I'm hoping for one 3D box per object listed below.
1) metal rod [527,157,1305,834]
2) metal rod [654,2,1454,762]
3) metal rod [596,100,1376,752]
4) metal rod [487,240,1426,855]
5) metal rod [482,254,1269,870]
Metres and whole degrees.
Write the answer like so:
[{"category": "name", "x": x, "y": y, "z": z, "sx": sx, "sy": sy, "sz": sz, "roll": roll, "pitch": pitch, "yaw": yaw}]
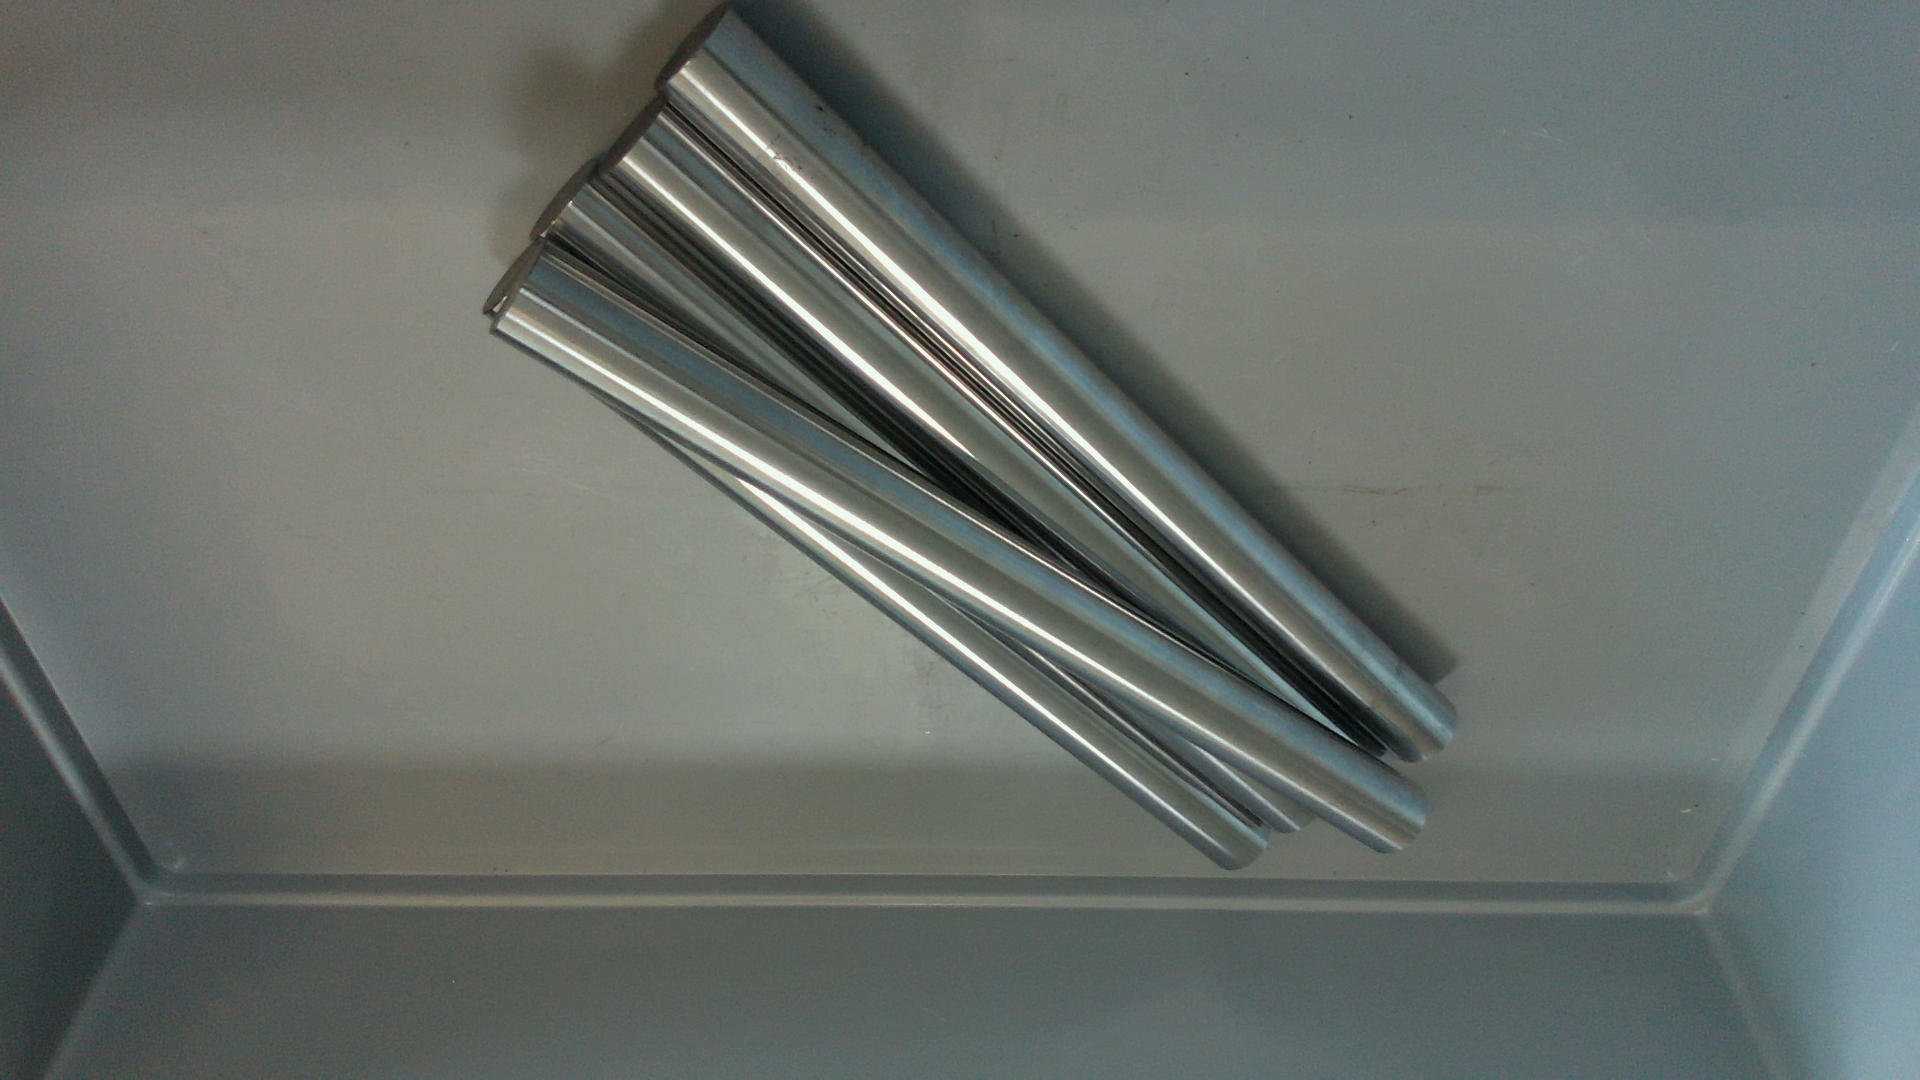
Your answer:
[{"category": "metal rod", "x": 0.009, "y": 0.004, "z": 0.393, "sx": 0.025, "sy": 0.025, "sz": 0.301, "roll": -35, "pitch": 122, "yaw": 26}, {"category": "metal rod", "x": 0.044, "y": -0.024, "z": 0.370, "sx": 0.025, "sy": 0.025, "sz": 0.301, "roll": -35, "pitch": 122, "yaw": 26}, {"category": "metal rod", "x": 0.028, "y": -0.008, "z": 0.382, "sx": 0.025, "sy": 0.025, "sz": 0.301, "roll": -35, "pitch": 122, "yaw": 26}, {"category": "metal rod", "x": 0.018, "y": 0.015, "z": 0.369, "sx": 0.301, "sy": 0.025, "sz": 0.025, "roll": 31, "pitch": 123, "yaw": -24}, {"category": "metal rod", "x": -0.006, "y": 0.019, "z": 0.406, "sx": 0.025, "sy": 0.025, "sz": 0.301, "roll": -35, "pitch": 122, "yaw": 26}]
